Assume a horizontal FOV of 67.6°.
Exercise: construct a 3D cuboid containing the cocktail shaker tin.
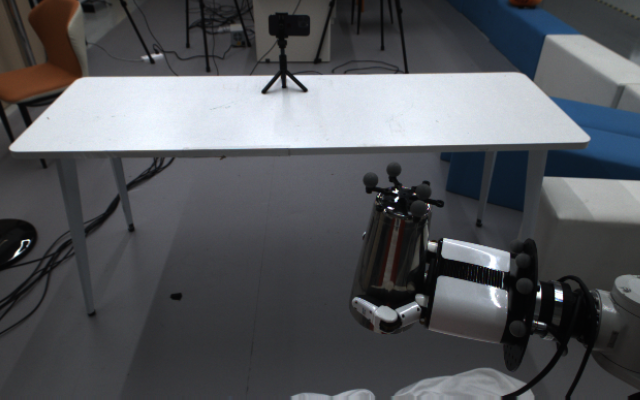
[{"bbox_3d":[0.091,0.071,0.595,0.093,0.170,0.093,3,34,-2],"label":"cocktail shaker tin"}]
